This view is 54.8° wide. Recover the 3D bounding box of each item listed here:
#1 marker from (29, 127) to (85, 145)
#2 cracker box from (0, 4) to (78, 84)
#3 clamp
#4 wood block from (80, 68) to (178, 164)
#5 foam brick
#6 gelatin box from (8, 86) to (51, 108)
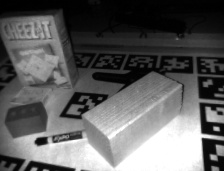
[{"bbox_3d":[-0.122,0.113,0.480,0.121,0.020,0.019,-11,41,-2],"label":"marker"},{"bbox_3d":[-0.201,-0.105,0.598,0.163,0.215,0.072,1,39,10],"label":"cracker box"},{"bbox_3d":[0.044,-0.026,0.606,0.203,0.037,0.163,-17,41,-10],"label":"clamp"},{"bbox_3d":[0.045,0.054,0.472,0.208,0.091,0.088,-32,42,-29],"label":"wood block"},{"bbox_3d":[-0.204,0.079,0.513,0.078,0.052,0.052,-14,41,-5],"label":"foam brick"},{"bbox_3d":[-0.224,0.035,0.591,0.089,0.030,0.073,2,42,13],"label":"gelatin box"}]
